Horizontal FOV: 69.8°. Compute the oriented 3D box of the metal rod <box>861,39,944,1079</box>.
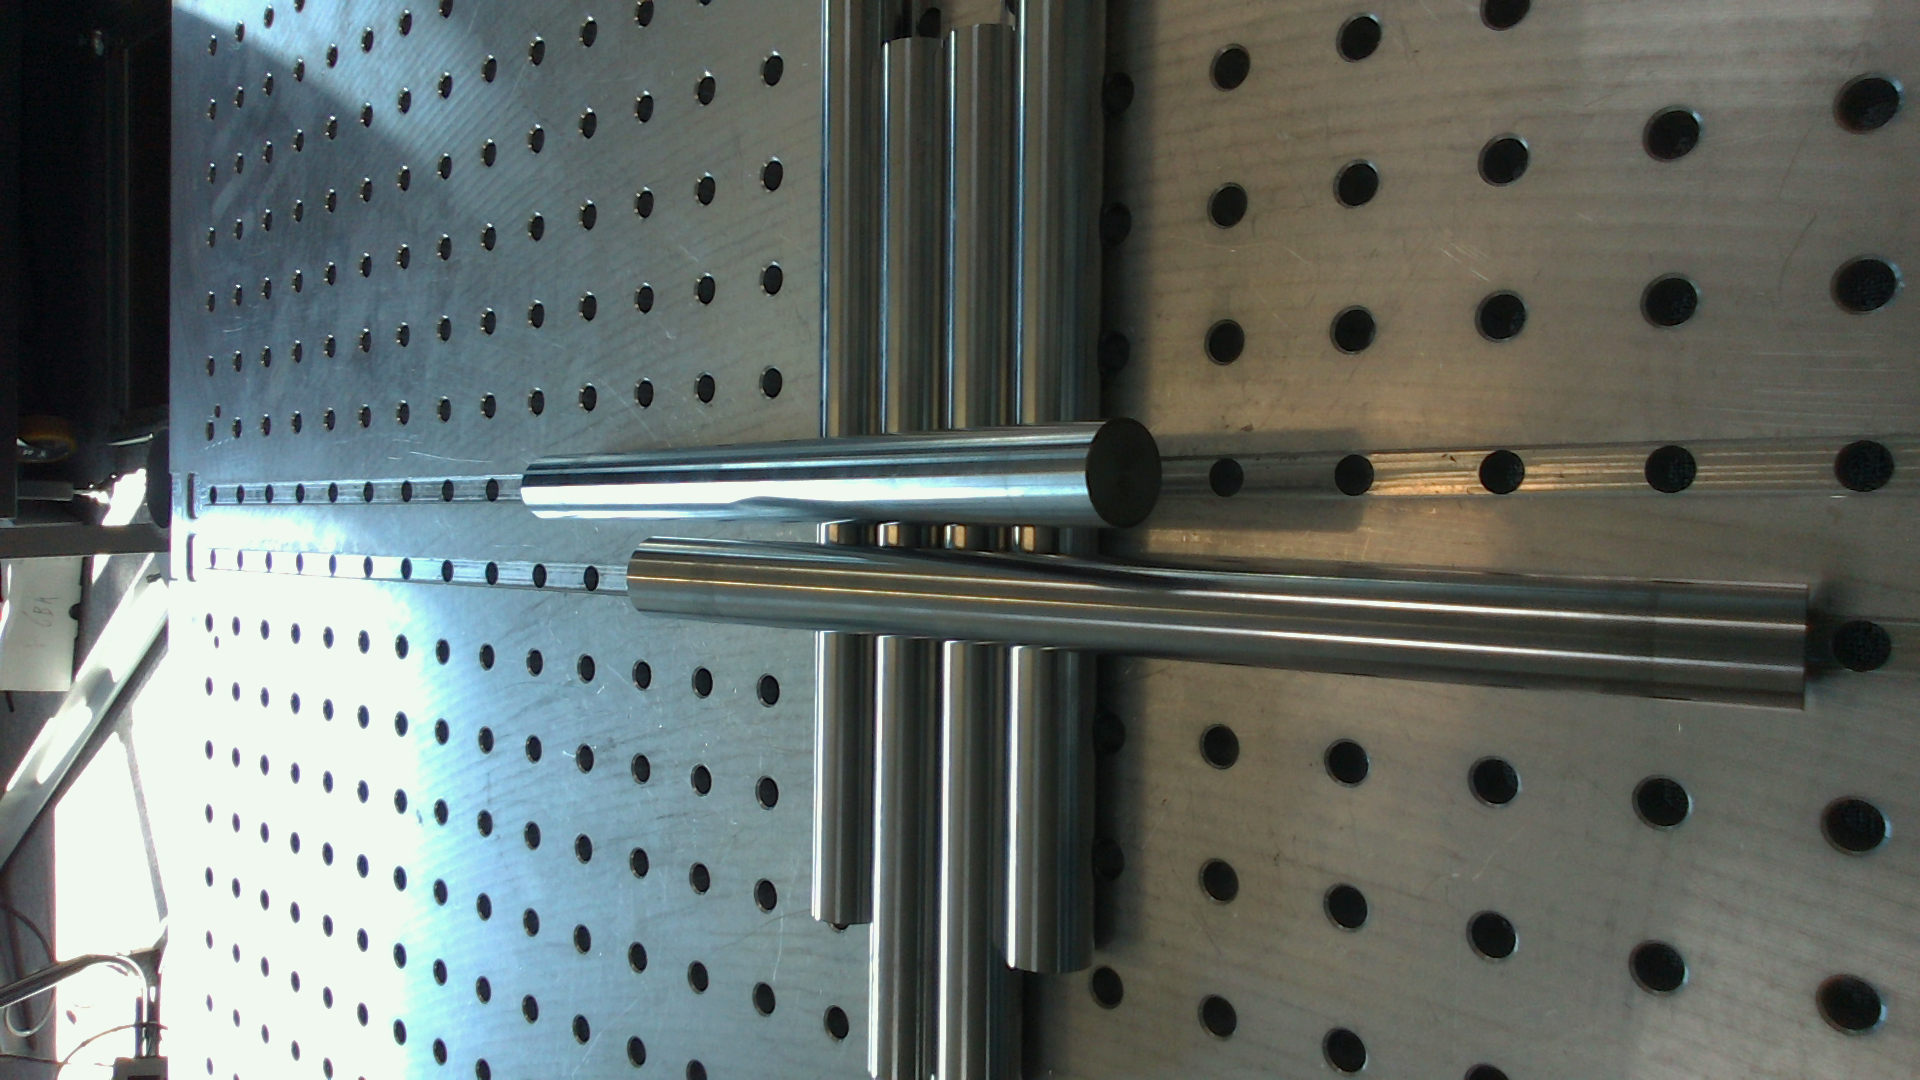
[{"bbox_3d":[-0.015,0.006,0.409,0.025,0.025,0.300,2,91,40],"label":"metal rod"}]

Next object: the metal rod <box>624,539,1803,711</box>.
[{"bbox_3d":[0.034,0.016,0.342,0.299,0.025,0.025,2,91,31],"label":"metal rod"}]

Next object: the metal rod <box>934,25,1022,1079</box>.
[{"bbox_3d":[0.007,0.008,0.394,0.025,0.025,0.300,1,91,40],"label":"metal rod"}]

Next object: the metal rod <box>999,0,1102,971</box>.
[{"bbox_3d":[0.025,-0.036,0.376,0.025,0.025,0.300,1,91,40],"label":"metal rod"}]

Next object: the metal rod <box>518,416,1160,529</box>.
[{"bbox_3d":[-0.061,-0.018,0.419,0.299,0.025,0.025,2,91,49],"label":"metal rod"}]

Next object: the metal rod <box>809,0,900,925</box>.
[{"bbox_3d":[-0.033,-0.034,0.424,0.025,0.025,0.300,1,91,40],"label":"metal rod"}]
